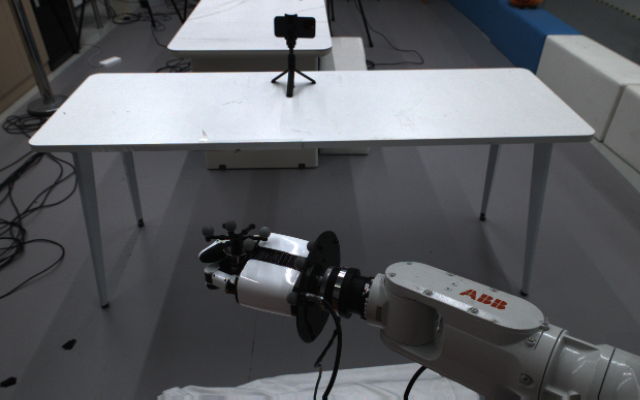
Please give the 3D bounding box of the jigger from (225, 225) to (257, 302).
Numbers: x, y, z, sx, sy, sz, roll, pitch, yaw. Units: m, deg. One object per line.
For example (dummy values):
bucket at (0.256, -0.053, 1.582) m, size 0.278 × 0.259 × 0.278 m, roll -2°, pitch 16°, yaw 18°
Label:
jigger at (-0.119, 0.100, 0.726) m, size 0.043 × 0.071 × 0.043 m, roll 3°, pitch 25°, yaw -1°
